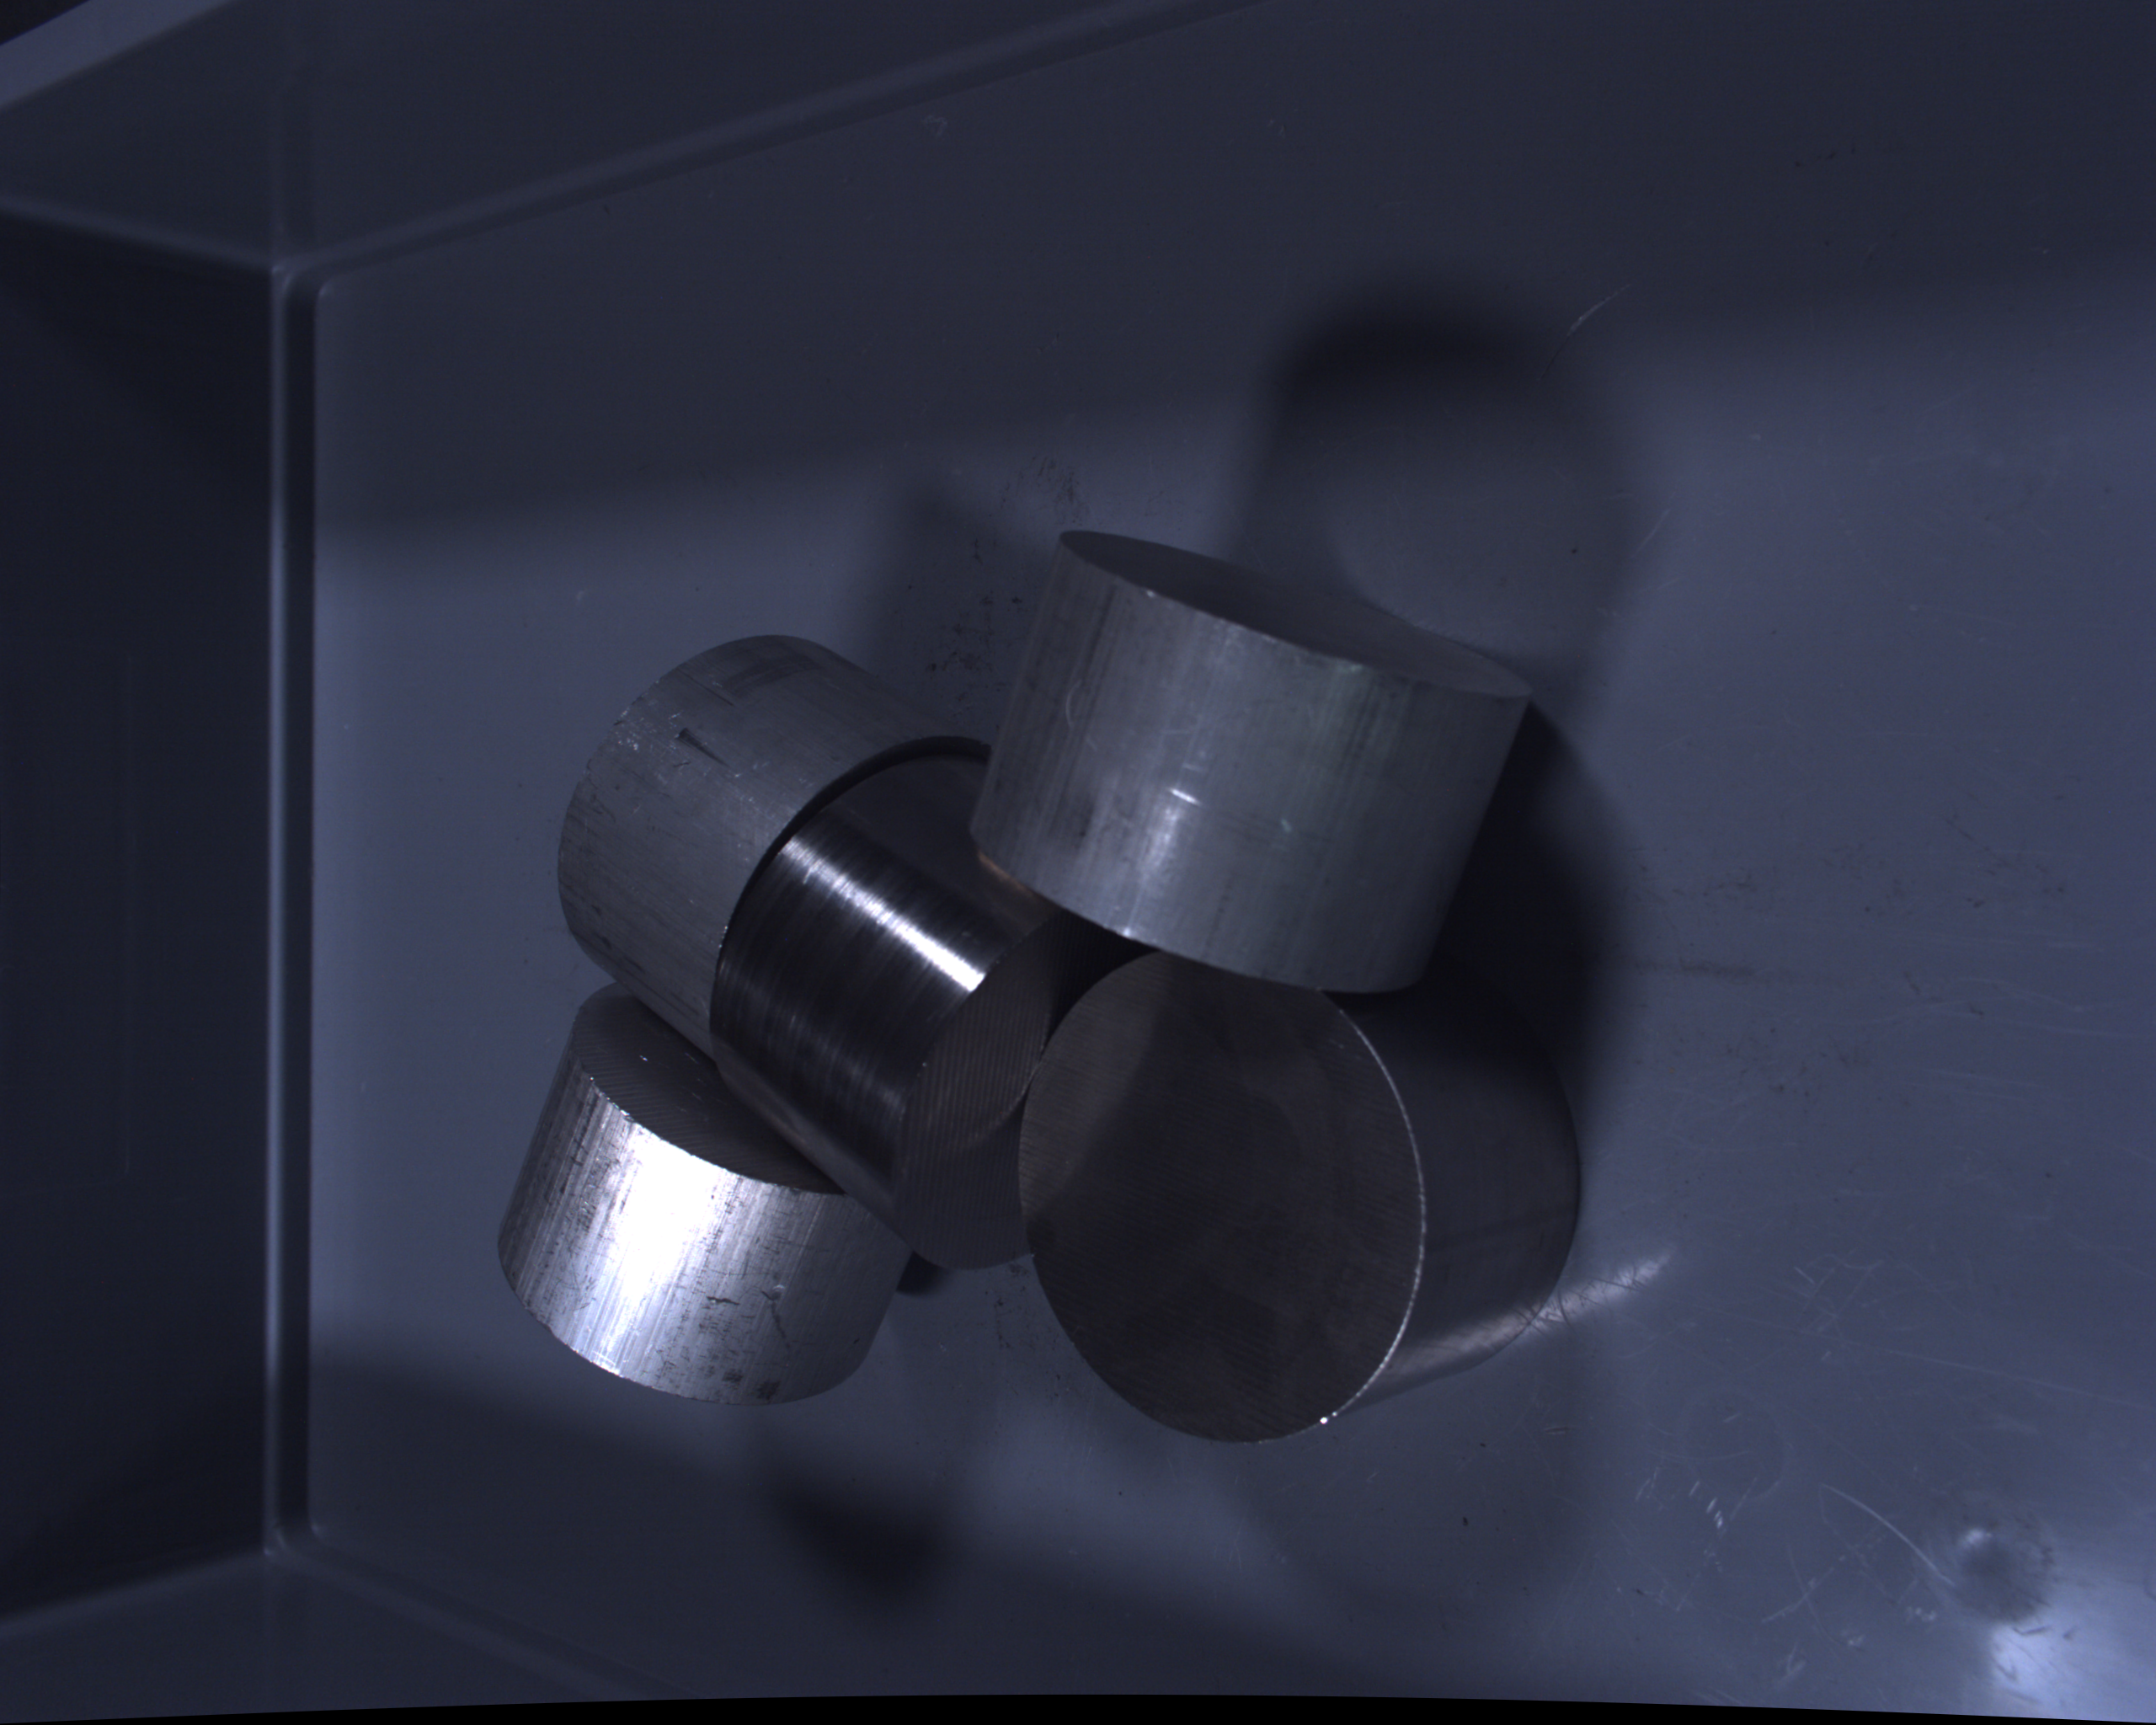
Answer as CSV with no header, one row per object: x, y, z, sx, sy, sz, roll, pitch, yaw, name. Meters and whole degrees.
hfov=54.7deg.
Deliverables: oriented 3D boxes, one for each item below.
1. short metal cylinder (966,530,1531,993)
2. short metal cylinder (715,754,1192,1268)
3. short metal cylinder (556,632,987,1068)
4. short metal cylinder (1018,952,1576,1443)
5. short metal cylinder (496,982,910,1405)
0.027,-0.018,0.345,0.080,0.081,0.050,29,108,36,short metal cylinder
-0.019,0.027,0.383,0.050,0.081,0.079,33,111,35,short metal cylinder
-0.054,0.001,0.411,0.050,0.081,0.079,32,110,35,short metal cylinder
0.037,0.053,0.356,0.080,0.050,0.079,0,90,39,short metal cylinder
-0.072,0.064,0.425,0.080,0.081,0.050,36,112,34,short metal cylinder
